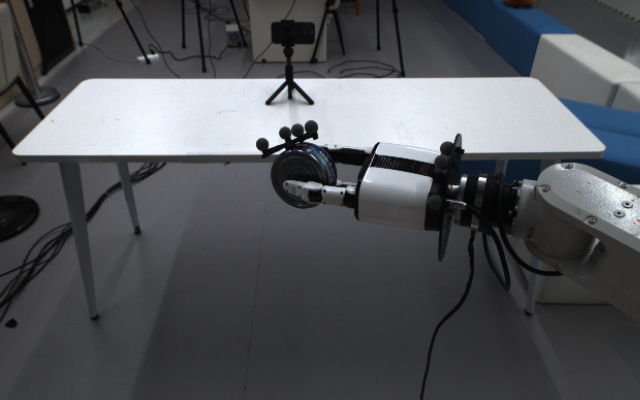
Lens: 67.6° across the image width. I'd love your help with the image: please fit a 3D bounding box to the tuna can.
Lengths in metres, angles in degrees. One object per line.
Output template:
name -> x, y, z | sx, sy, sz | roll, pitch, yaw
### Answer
tuna can -> -0.019, -0.027, 0.649 | 0.085, 0.085, 0.034 | 15, 29, 17
